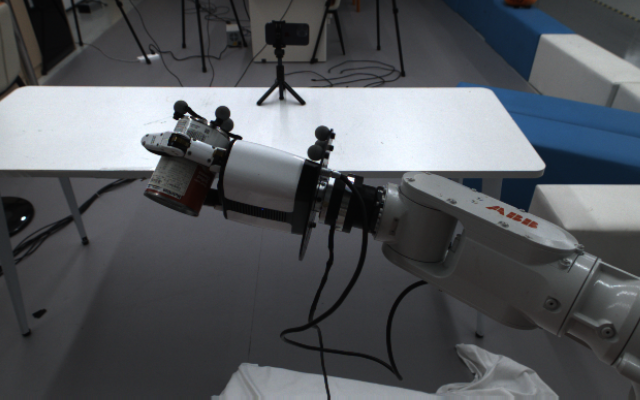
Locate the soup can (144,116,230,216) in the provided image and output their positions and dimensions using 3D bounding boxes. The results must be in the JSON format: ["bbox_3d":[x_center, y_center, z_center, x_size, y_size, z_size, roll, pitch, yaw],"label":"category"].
[{"bbox_3d":[-0.155,-0.038,0.575,0.067,0.067,0.101,16,76,19],"label":"soup can"}]
